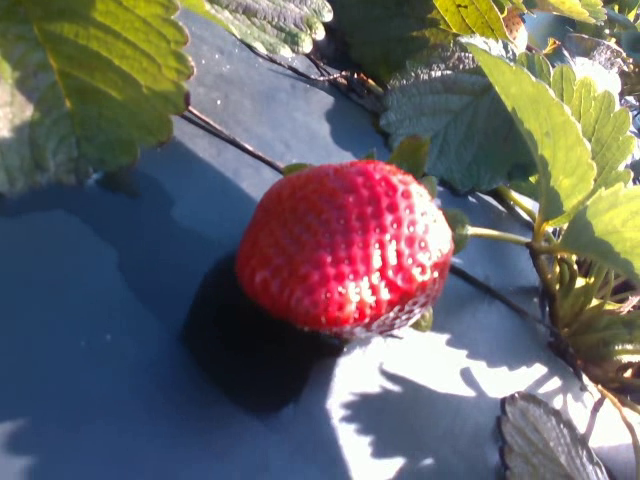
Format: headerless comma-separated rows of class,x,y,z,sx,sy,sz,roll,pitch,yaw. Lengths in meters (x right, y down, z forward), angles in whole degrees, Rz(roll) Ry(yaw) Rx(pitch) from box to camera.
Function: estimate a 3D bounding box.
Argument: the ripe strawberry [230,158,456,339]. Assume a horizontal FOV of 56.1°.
ripe strawberry,0.003,0.004,0.109,0.044,0.042,0.055,-6,16,23
